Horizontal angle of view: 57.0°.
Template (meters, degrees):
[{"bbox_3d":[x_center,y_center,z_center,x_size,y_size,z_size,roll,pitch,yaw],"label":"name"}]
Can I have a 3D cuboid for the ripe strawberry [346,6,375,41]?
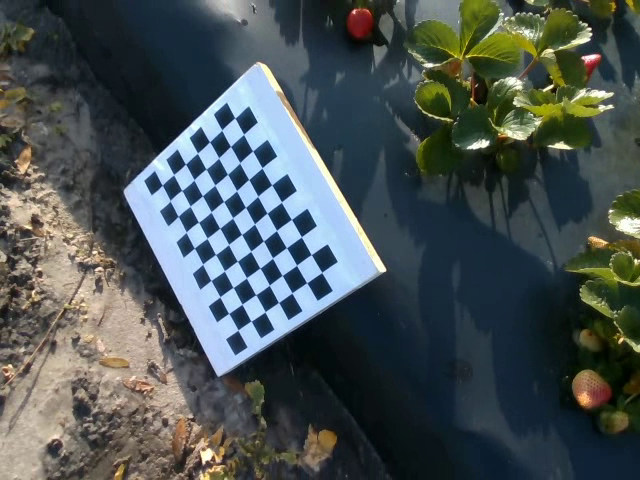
[{"bbox_3d":[0.047,-0.239,0.658,0.030,0.045,0.033,-2,-27,30],"label":"ripe strawberry"}]
